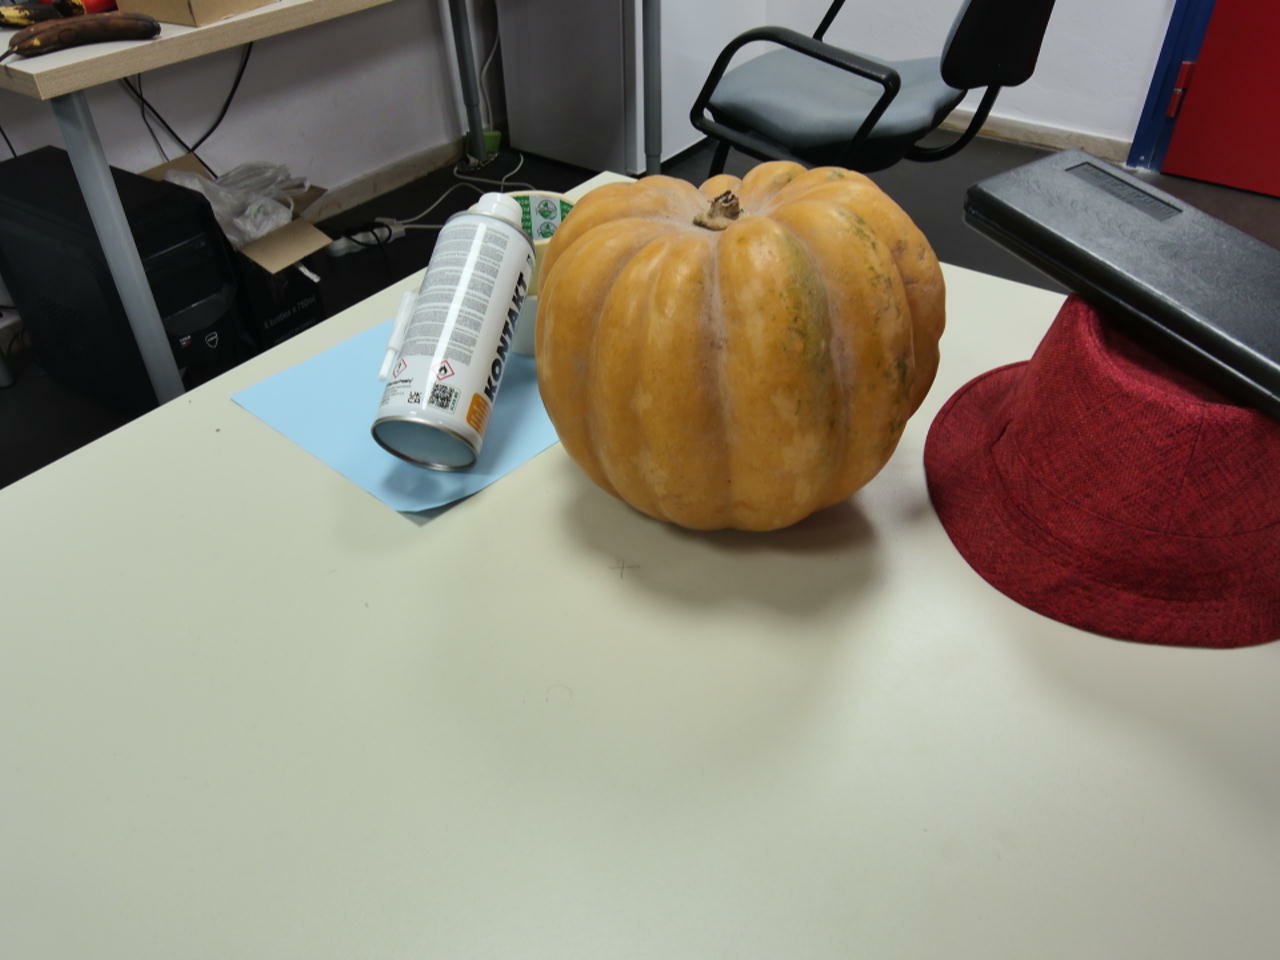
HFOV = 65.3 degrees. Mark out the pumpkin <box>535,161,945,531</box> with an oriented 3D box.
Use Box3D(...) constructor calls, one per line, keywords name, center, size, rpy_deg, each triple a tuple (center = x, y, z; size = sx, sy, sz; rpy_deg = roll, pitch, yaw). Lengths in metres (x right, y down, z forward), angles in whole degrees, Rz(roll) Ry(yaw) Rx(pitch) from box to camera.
Box3D(name="pumpkin", center=(0.052, -0.075, 0.563), size=(0.230, 0.194, 0.230), rpy_deg=(0, 38, 0))
